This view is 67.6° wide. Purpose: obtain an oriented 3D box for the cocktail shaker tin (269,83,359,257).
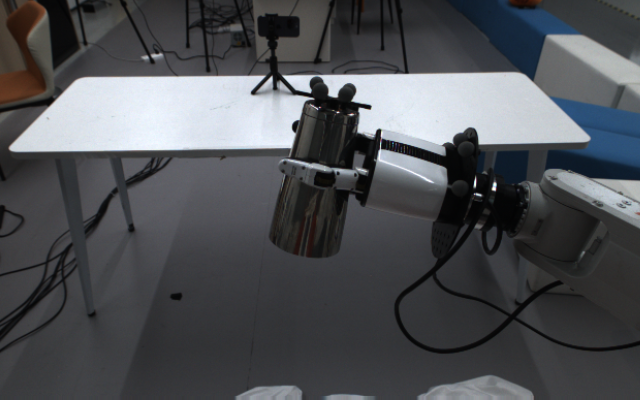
[{"bbox_3d":[-0.001,-0.028,0.581,0.093,0.170,0.093,11,19,-4],"label":"cocktail shaker tin"}]
